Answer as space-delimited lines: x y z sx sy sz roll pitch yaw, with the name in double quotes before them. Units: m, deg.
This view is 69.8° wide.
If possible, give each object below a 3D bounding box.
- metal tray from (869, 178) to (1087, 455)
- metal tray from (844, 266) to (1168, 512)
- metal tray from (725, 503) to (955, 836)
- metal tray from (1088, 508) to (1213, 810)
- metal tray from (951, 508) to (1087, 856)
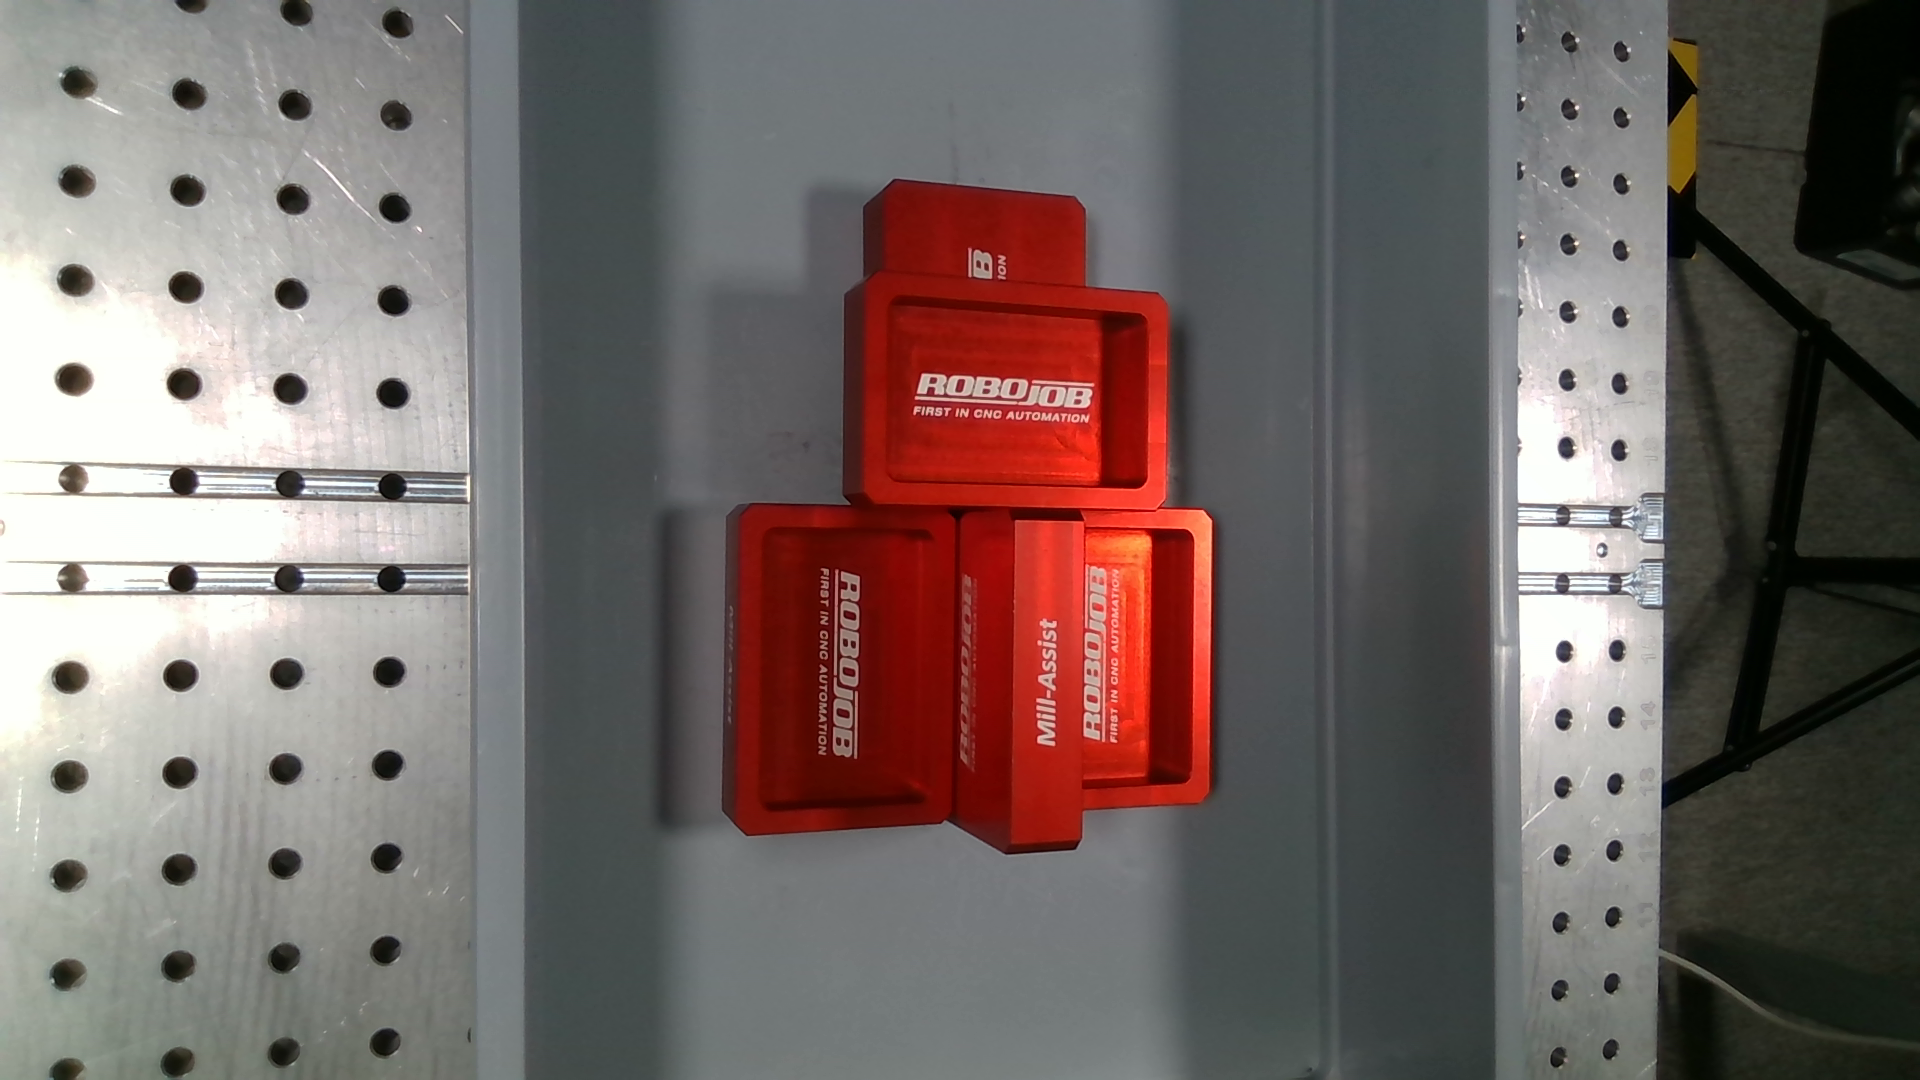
"metal tray" 0.007 -0.081 0.582 0.090 0.030 0.130 0 90 -20
"metal tray" 0.019 -0.058 0.556 0.130 0.030 0.090 1 90 -20
"metal tray" -0.050 0.051 0.564 0.090 0.030 0.130 1 90 -20
"metal tray" 0.064 0.051 0.606 0.090 0.030 0.130 1 90 -20
"metal tray" 0.018 0.053 0.556 0.030 0.090 0.130 1 90 -20
